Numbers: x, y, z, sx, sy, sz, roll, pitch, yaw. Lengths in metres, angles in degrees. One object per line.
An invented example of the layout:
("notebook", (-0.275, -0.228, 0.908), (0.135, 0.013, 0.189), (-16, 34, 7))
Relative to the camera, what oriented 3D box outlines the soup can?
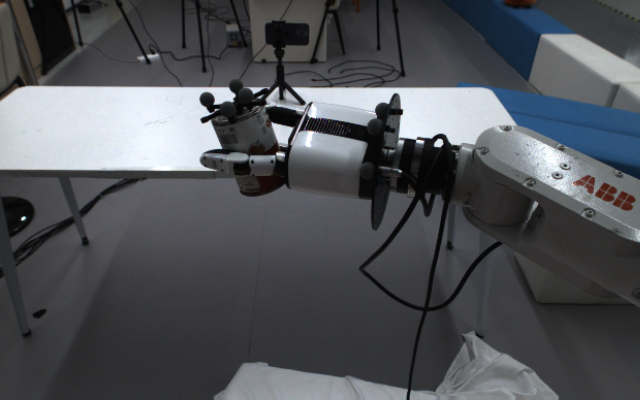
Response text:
("soup can", (-0.082, -0.064, 0.593), (0.067, 0.101, 0.067), (-14, 31, 8))
